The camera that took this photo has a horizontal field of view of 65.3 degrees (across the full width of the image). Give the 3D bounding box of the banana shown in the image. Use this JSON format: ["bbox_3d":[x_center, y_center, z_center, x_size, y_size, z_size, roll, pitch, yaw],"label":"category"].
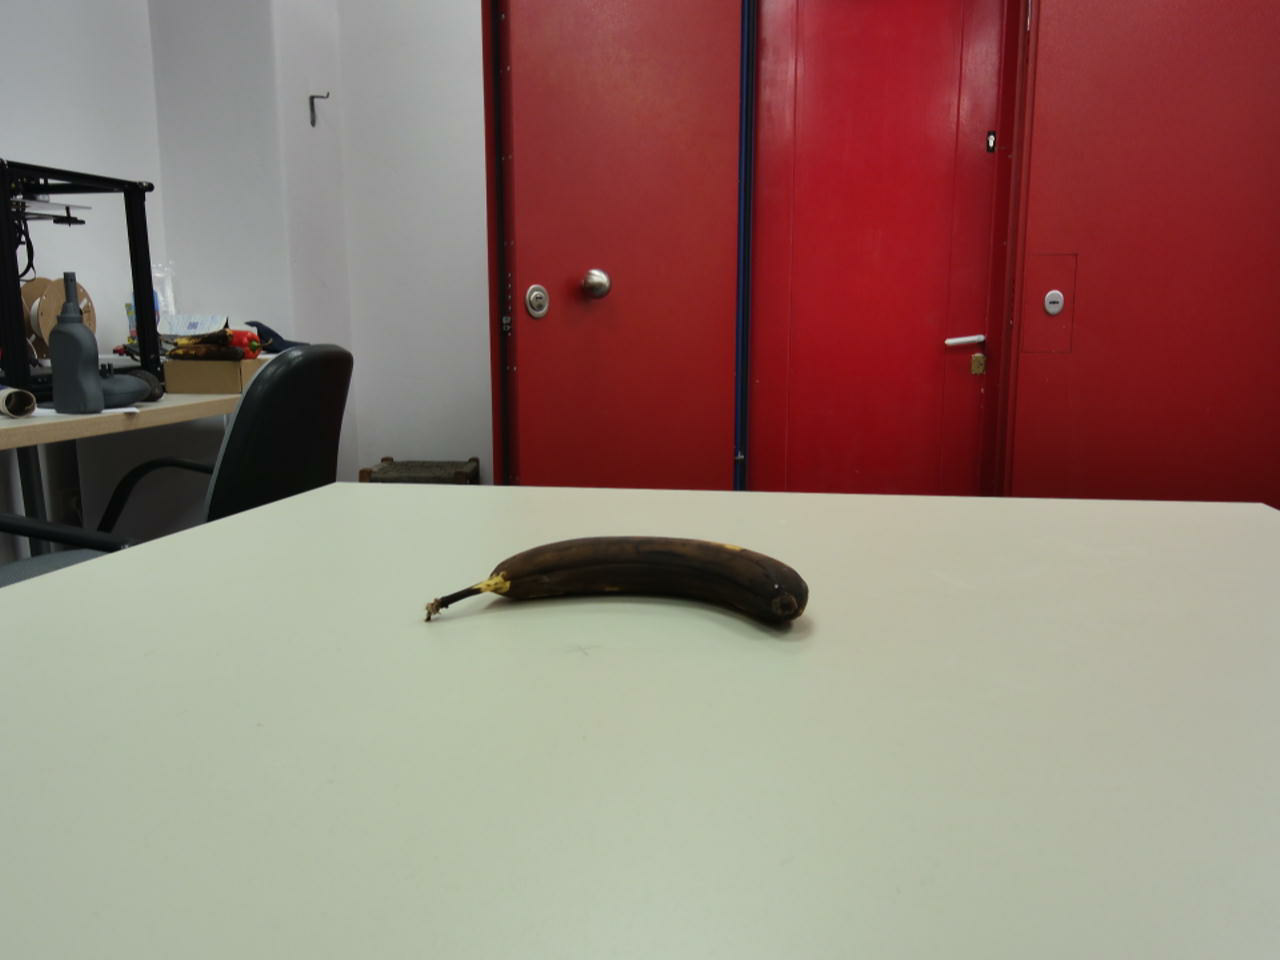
[{"bbox_3d":[-0.005,0.050,0.521,0.188,0.033,0.091,1,7,13],"label":"banana"}]
